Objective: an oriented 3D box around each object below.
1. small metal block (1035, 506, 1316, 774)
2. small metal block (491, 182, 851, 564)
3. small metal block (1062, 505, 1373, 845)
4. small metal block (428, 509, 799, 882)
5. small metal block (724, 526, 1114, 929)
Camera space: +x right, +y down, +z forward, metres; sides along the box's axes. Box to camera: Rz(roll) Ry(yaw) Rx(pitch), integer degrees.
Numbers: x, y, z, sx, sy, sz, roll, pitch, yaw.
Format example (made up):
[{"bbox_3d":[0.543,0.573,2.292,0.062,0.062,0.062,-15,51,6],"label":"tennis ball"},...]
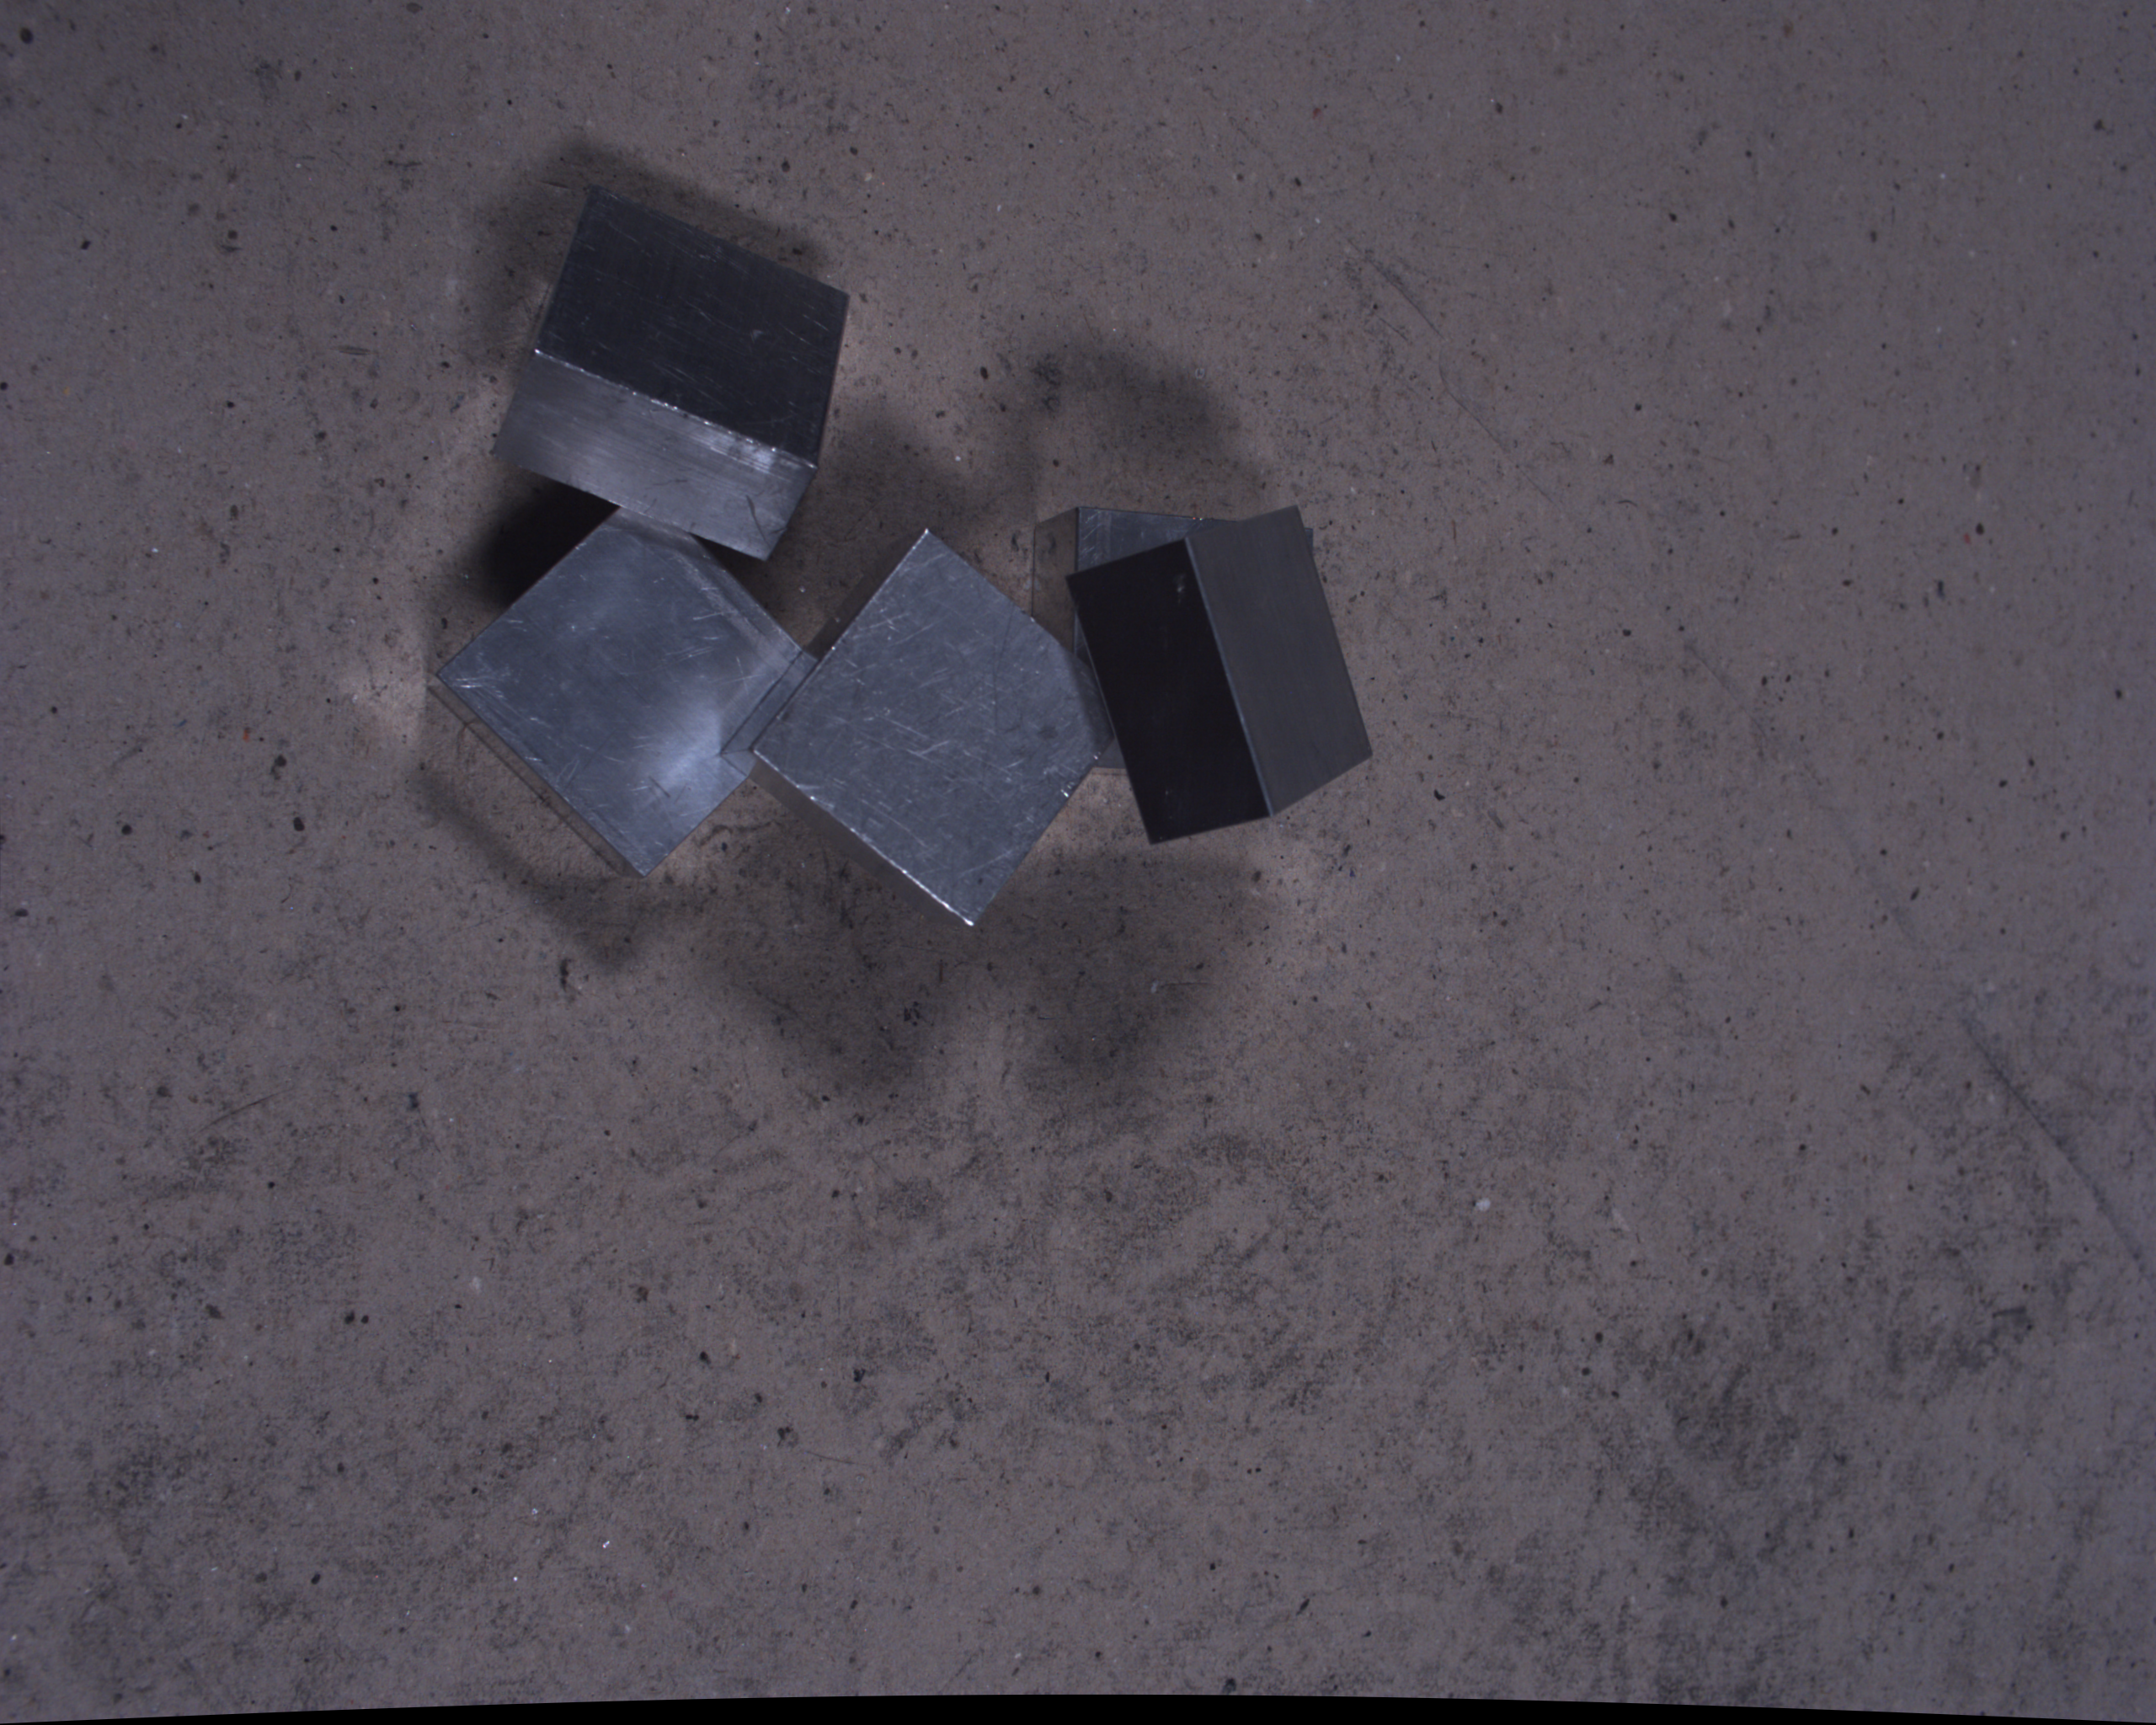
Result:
[{"bbox_3d":[0.019,-0.043,0.418,0.050,0.025,0.050,2,89,-21],"label":"small metal block"},{"bbox_3d":[-0.071,-0.087,0.372,0.050,0.025,0.050,20,47,-19],"label":"small metal block"},{"bbox_3d":[0.027,-0.035,0.381,0.050,0.025,0.050,-28,103,-58],"label":"small metal block"},{"bbox_3d":[-0.081,-0.032,0.380,0.050,0.025,0.050,-47,105,-14],"label":"small metal block"},{"bbox_3d":[-0.026,-0.023,0.374,0.050,0.025,0.050,40,77,-16],"label":"small metal block"}]
